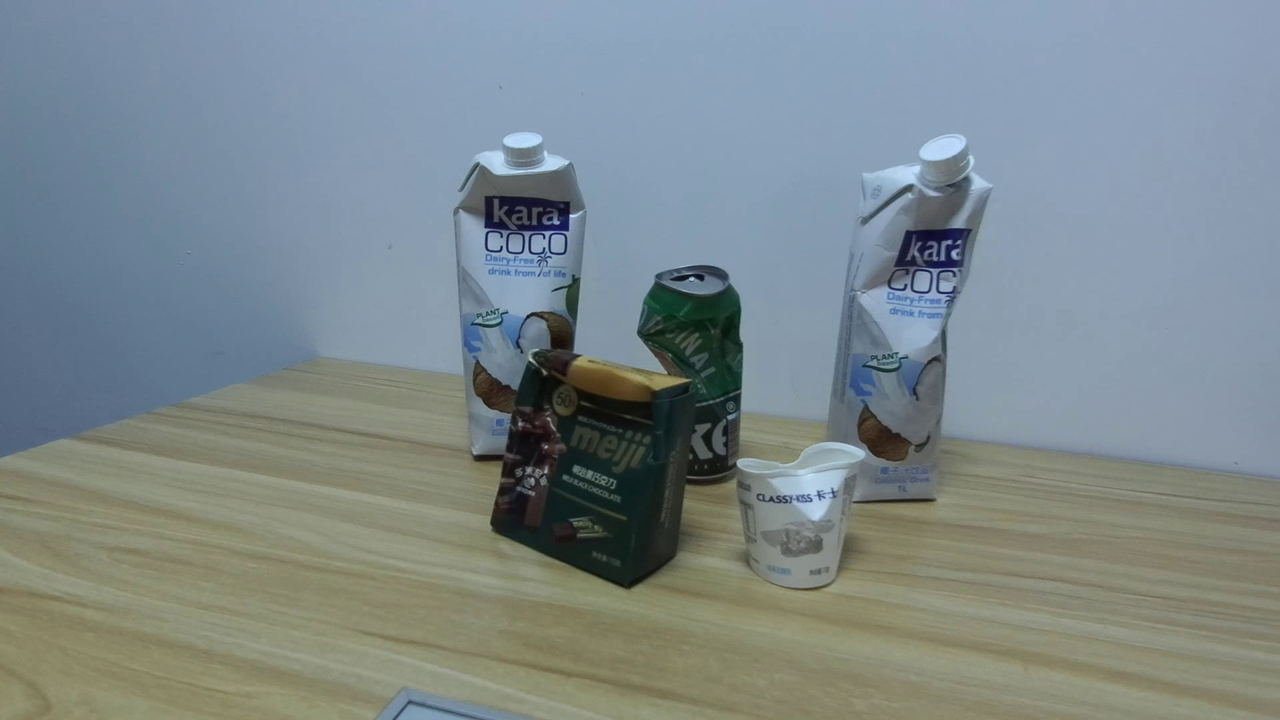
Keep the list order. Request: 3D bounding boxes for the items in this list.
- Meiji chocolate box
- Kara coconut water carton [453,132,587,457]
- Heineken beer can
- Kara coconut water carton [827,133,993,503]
[{"bbox_3d":[-0.031,0.062,0.455,0.113,0.110,0.058,13,12,-7],"label":"Meiji chocolate box"},{"bbox_3d":[-0.092,-0.050,0.555,0.100,0.244,0.071,-2,14,-11],"label":"Kara coconut water carton"},{"bbox_3d":[0.042,0.012,0.528,0.067,0.159,0.079,4,20,17],"label":"Heineken beer can"},{"bbox_3d":[0.186,-0.027,0.507,0.083,0.255,0.078,4,16,3],"label":"Kara coconut water carton"}]
